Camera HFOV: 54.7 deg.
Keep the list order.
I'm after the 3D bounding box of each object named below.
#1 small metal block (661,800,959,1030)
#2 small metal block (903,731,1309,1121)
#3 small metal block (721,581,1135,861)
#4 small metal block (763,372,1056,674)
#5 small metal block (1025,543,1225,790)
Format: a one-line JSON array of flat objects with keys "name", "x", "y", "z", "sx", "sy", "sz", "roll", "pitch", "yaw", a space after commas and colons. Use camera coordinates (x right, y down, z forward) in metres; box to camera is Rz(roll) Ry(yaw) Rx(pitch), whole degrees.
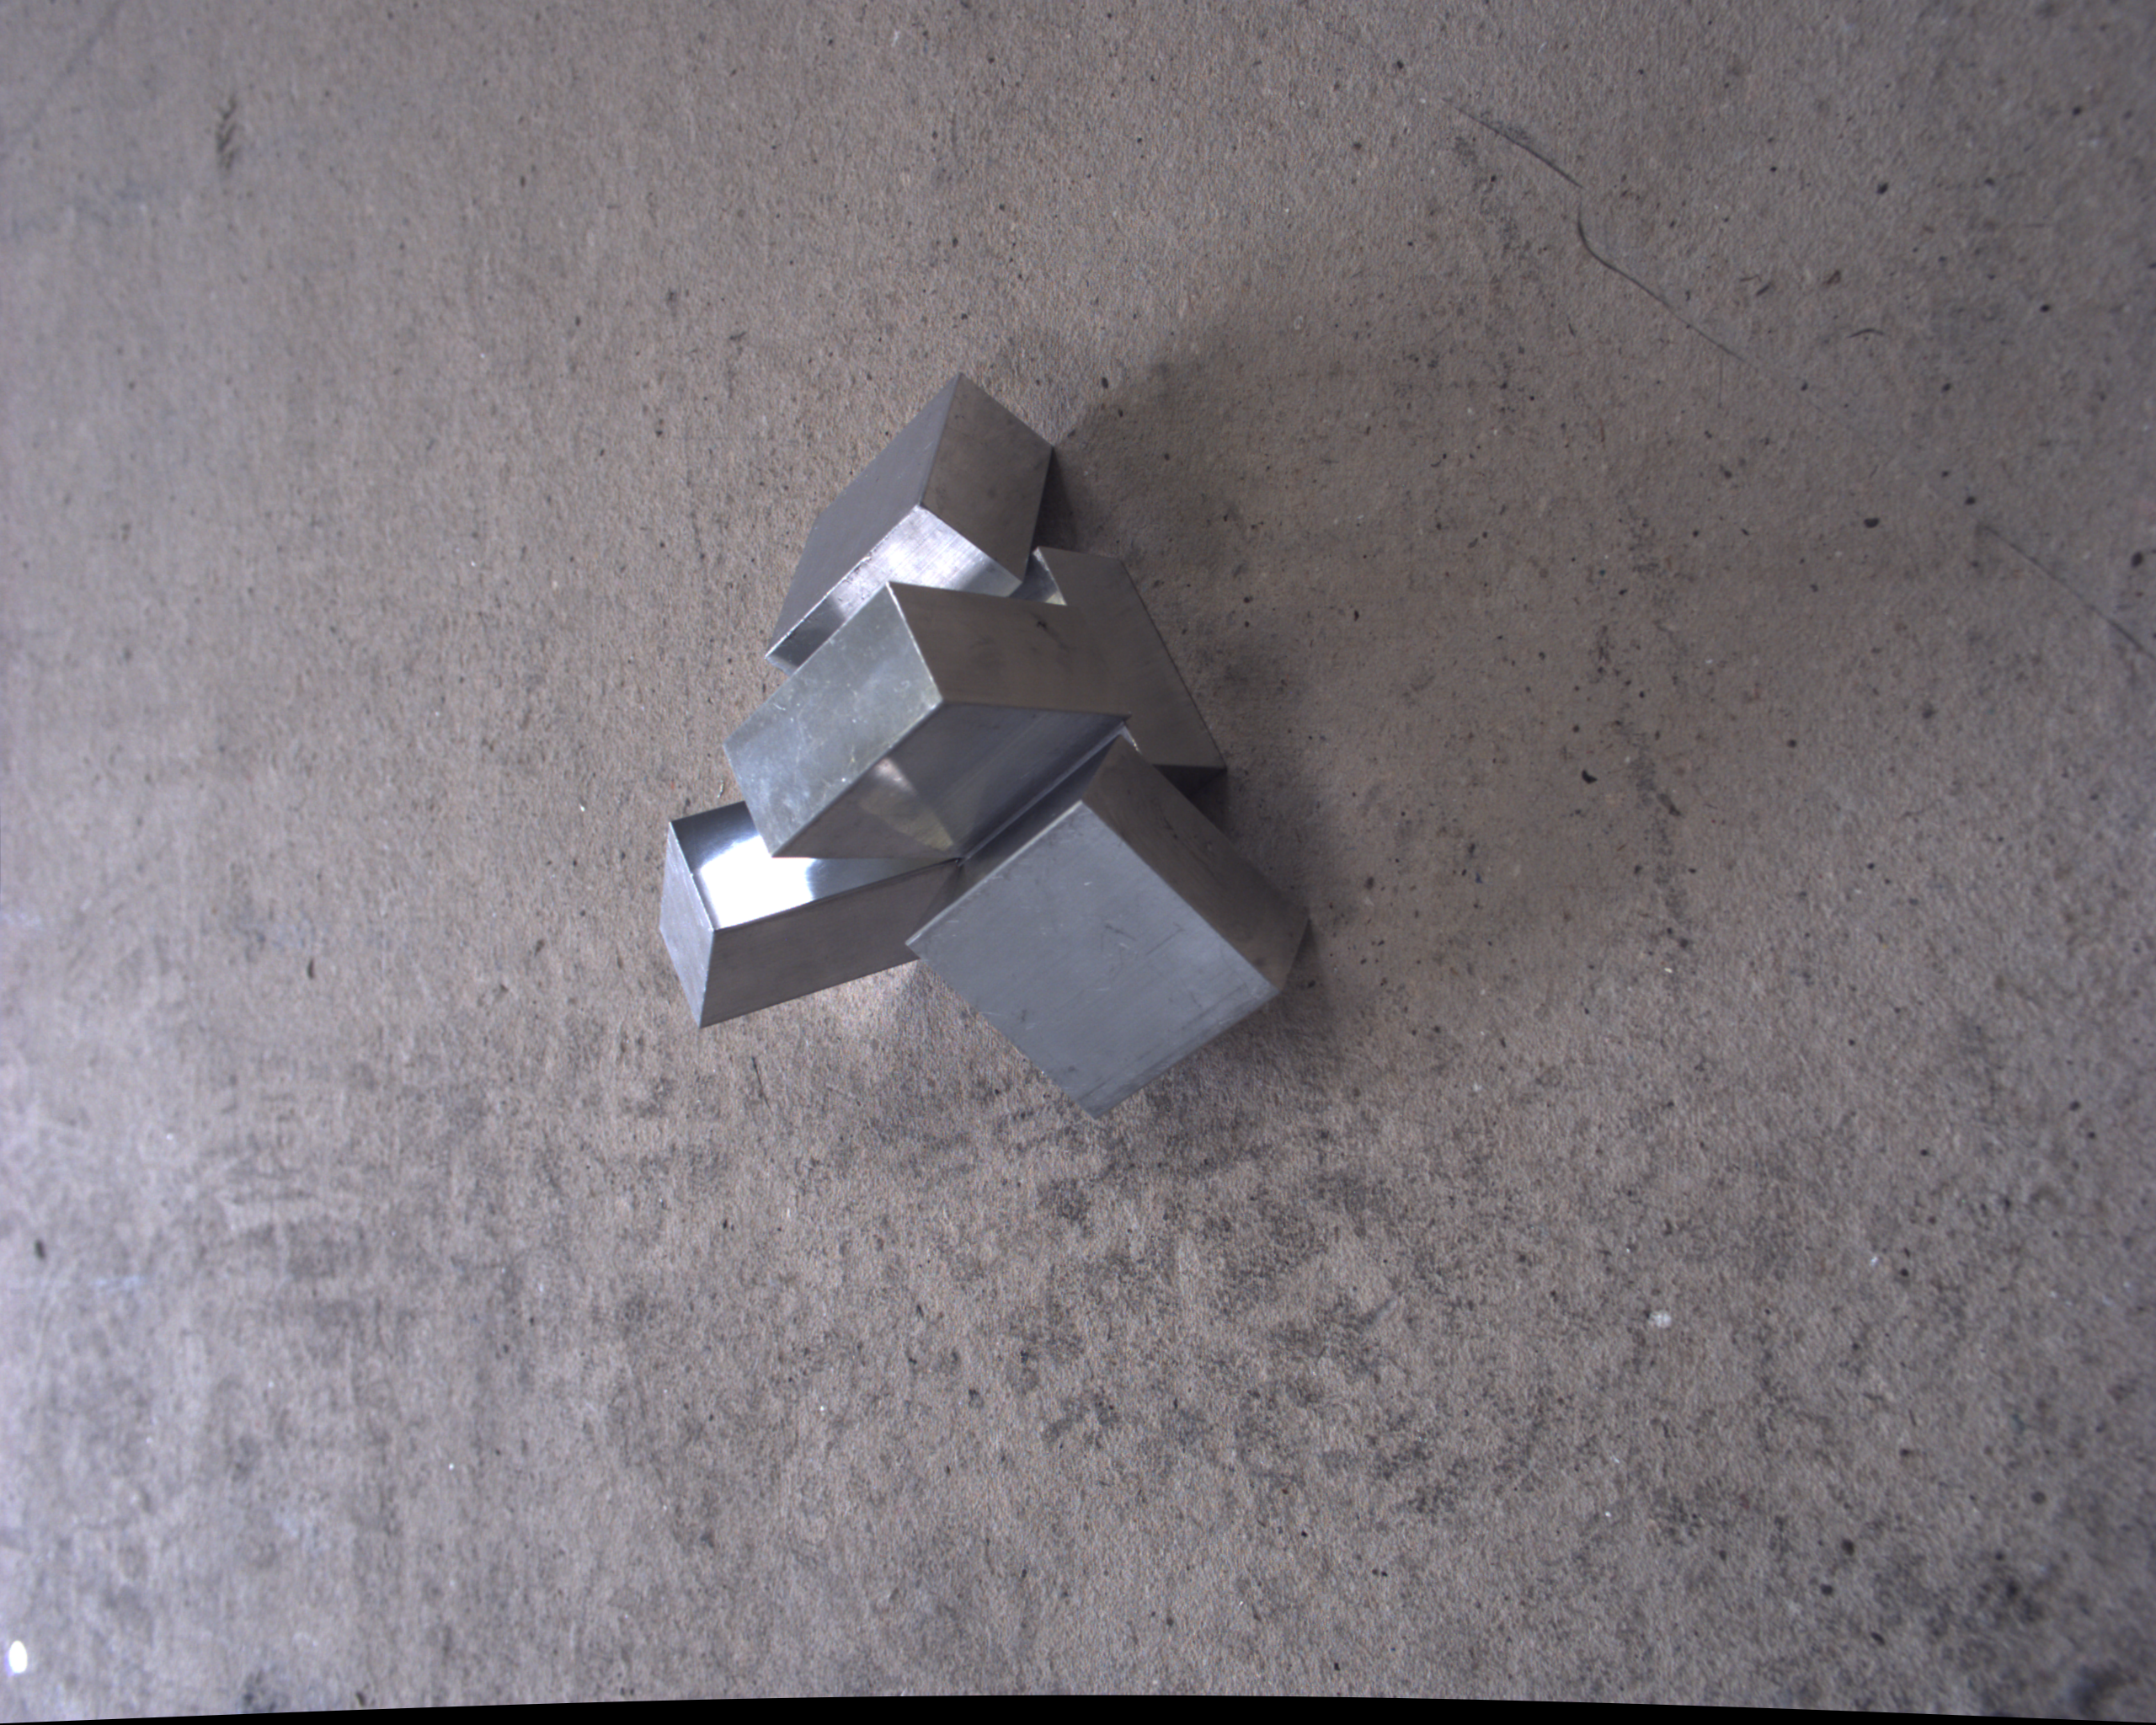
[{"name": "small metal block", "x": -0.056, "y": 0.006, "z": 0.425, "sx": 0.025, "sy": 0.050, "sz": 0.050, "roll": 65, "pitch": 158, "yaw": 19}, {"name": "small metal block", "x": 0.005, "y": 0.012, "z": 0.386, "sx": 0.050, "sy": 0.025, "sz": 0.050, "roll": 44, "pitch": 124, "yaw": -11}, {"name": "small metal block", "x": -0.027, "y": -0.024, "z": 0.380, "sx": 0.050, "sy": 0.050, "sz": 0.025, "roll": -39, "pitch": 67, "yaw": 33}, {"name": "small metal block", "x": -0.033, "y": -0.062, "z": 0.418, "sx": 0.050, "sy": 0.025, "sz": 0.050, "roll": -39, "pitch": 26, "yaw": 34}, {"name": "small metal block", "x": -0.006, "y": -0.027, "z": 0.412, "sx": 0.050, "sy": 0.025, "sz": 0.050, "roll": -40, "pitch": 66, "yaw": 35}]
